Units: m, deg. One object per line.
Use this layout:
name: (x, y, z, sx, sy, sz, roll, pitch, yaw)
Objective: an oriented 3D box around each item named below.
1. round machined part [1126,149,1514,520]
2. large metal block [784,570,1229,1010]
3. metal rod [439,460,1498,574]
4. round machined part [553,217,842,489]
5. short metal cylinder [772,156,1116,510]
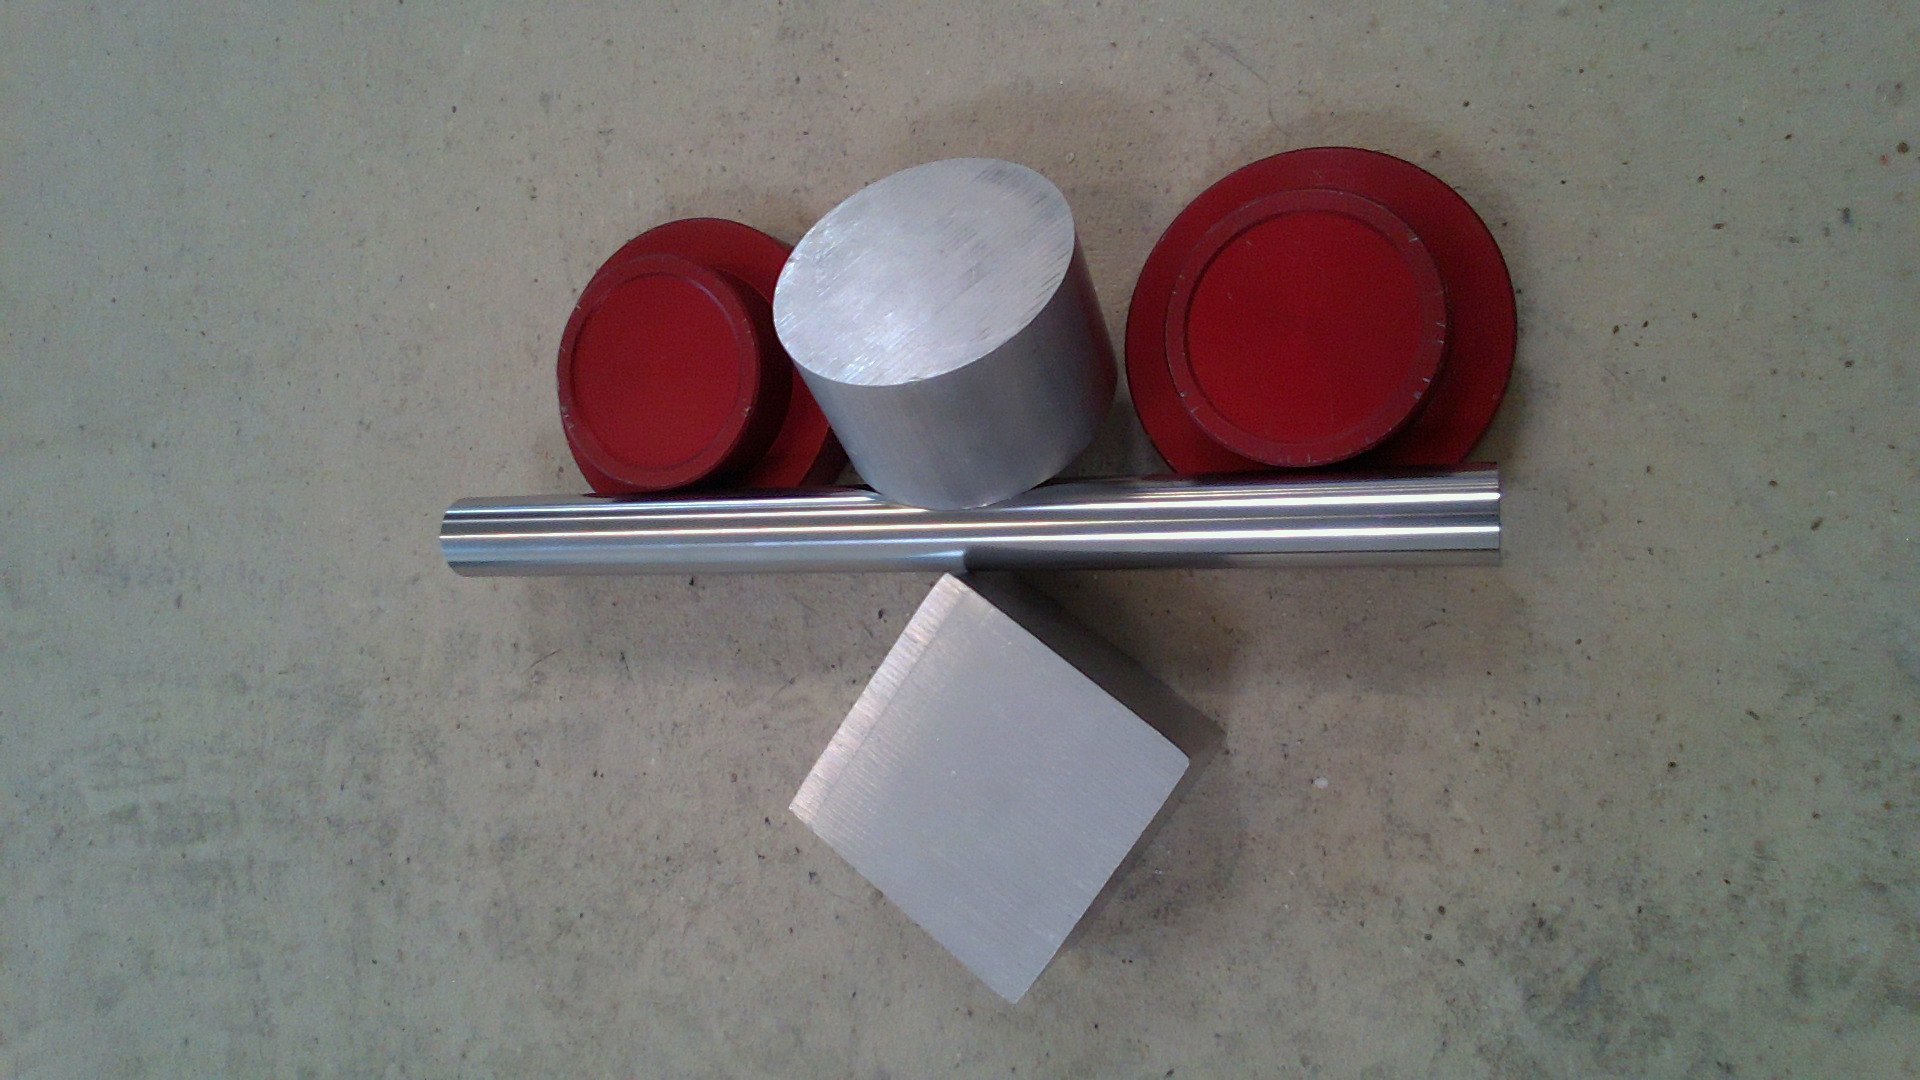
round machined part: (0.090, -0.052, 0.354, 0.098, 0.042, 0.098, 0, 90, 20)
large metal block: (0.013, 0.064, 0.376, 0.080, 0.050, 0.080, 37, 102, 16)
metal rod: (-0.013, -0.004, 0.378, 0.299, 0.025, 0.025, -1, 90, 20)
round machined part: (-0.082, -0.049, 0.416, 0.098, 0.042, 0.098, 0, 90, 20)
short metal cylinder: (-0.003, -0.055, 0.364, 0.080, 0.050, 0.080, -10, 52, 13)
